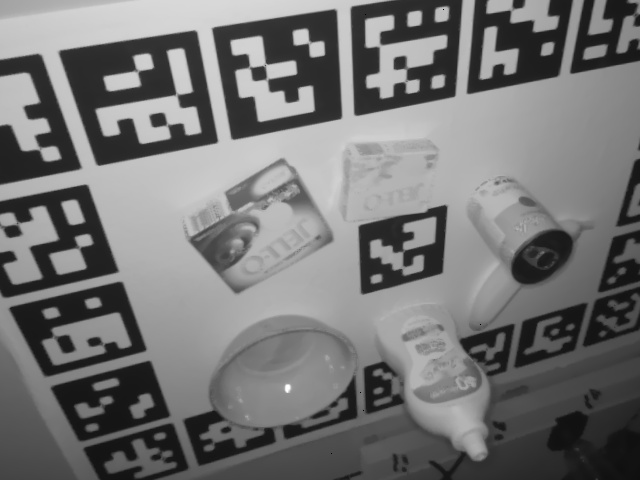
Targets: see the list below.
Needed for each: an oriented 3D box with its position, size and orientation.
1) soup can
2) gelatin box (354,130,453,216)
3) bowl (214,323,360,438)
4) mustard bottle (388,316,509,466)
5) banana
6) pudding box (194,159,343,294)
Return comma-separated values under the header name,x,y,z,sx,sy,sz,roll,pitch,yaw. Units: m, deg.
name,x,y,z,sx,sy,sz,roll,pitch,yaw
soup can,0.225,-0.004,0.710,0.068,0.102,0.067,-9,129,-11
gelatin box,0.080,-0.065,0.670,0.090,0.030,0.072,-8,123,-16
bowl,-0.040,0.144,0.762,0.163,0.055,0.160,-12,128,-14
mustard bottle,0.147,0.167,0.744,0.097,0.192,0.058,-12,131,-11
banana,0.262,0.053,0.817,0.075,0.039,0.195,22,115,-43
pudding box,-0.048,-0.010,0.655,0.114,0.038,0.090,-32,123,3
